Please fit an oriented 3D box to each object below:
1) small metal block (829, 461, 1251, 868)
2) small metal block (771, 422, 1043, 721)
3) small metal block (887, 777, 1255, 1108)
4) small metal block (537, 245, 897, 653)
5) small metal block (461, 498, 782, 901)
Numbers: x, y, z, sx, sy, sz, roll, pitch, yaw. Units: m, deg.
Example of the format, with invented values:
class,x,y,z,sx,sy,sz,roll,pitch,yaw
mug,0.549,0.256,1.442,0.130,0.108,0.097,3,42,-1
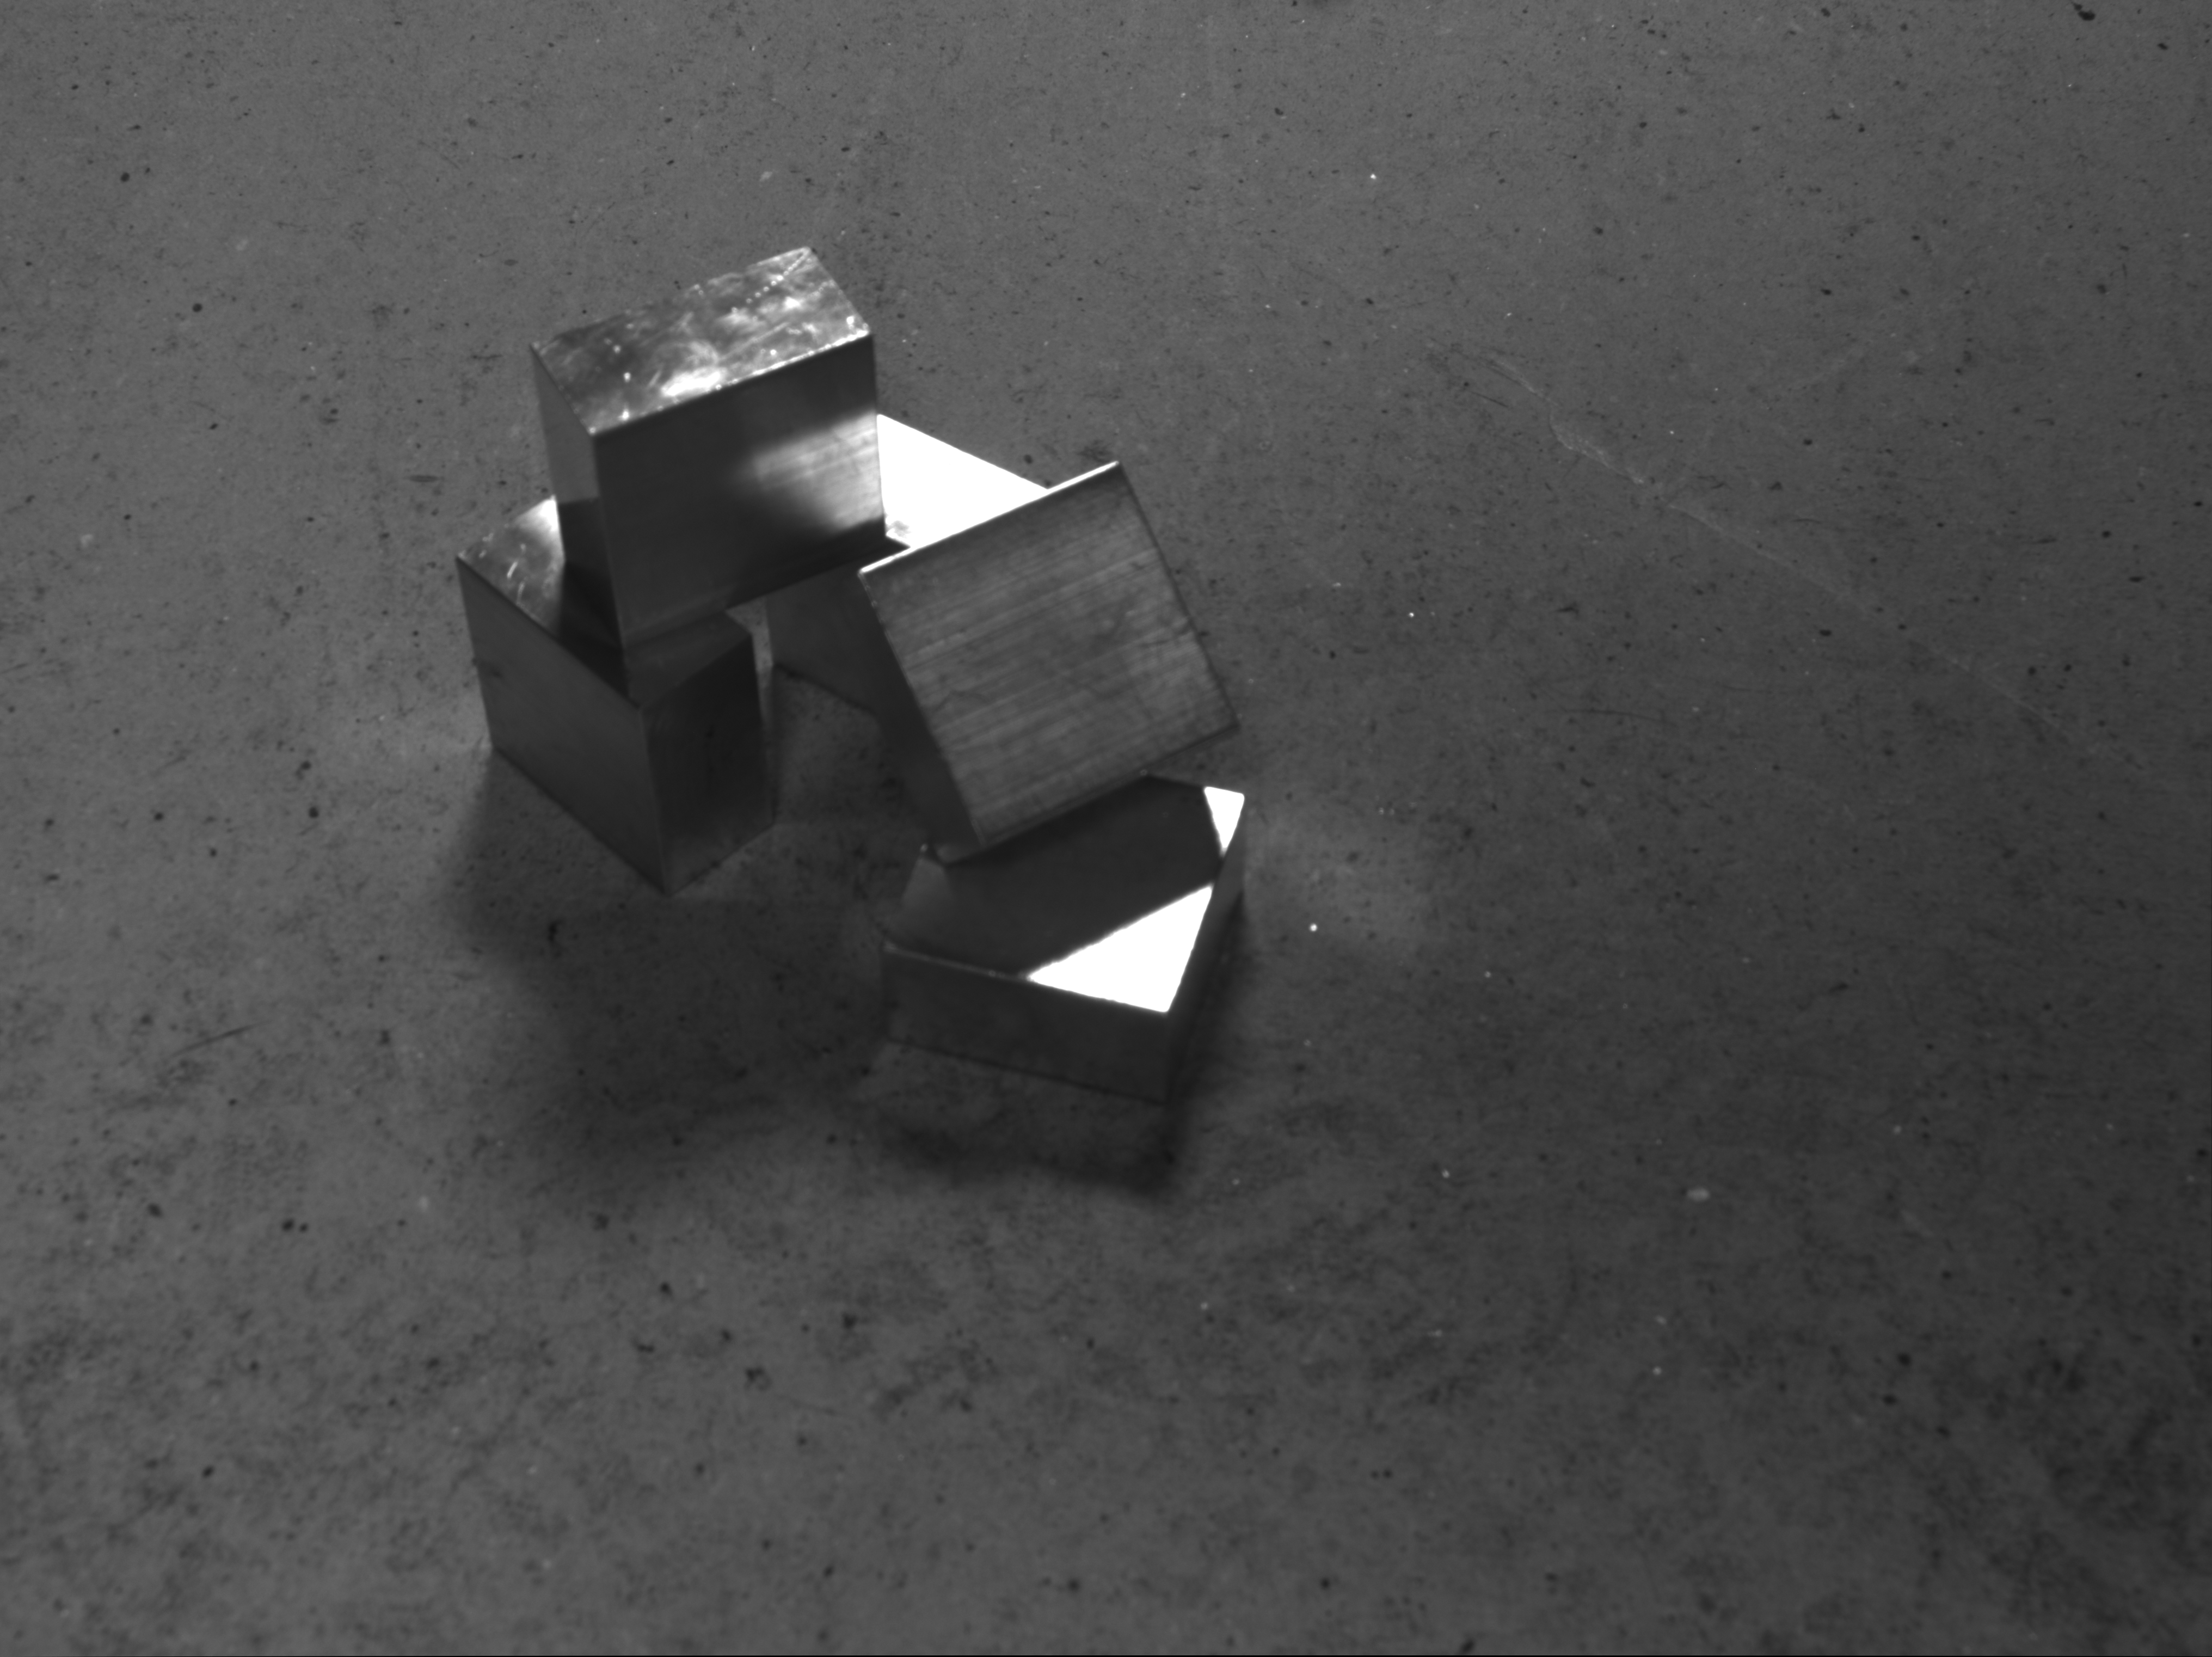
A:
class,x,y,z,sx,sy,sz,roll,pitch,yaw
small metal block,-0.011,-0.027,0.617,0.050,0.025,0.050,-25,91,-19
small metal block,-0.034,-0.044,0.663,0.050,0.050,0.025,26,55,20
small metal block,-0.005,0.016,0.629,0.050,0.025,0.050,12,51,10
small metal block,-0.064,-0.063,0.614,0.050,0.050,0.025,-23,54,-18
small metal block,-0.085,-0.024,0.646,0.025,0.050,0.050,-37,59,-27
